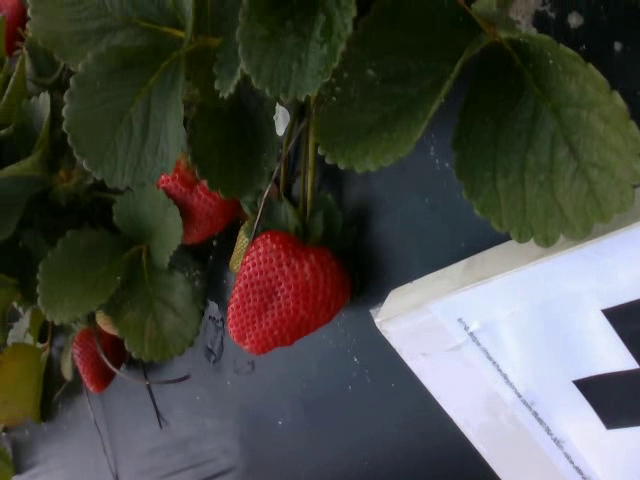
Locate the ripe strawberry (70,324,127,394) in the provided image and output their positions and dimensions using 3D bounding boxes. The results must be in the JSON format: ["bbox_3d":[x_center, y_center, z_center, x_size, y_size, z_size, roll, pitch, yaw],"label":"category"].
[{"bbox_3d":[-0.154,0.079,0.426,0.041,0.052,0.044,1,-33,-27],"label":"ripe strawberry"}]

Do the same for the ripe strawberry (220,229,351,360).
[{"bbox_3d":[-0.020,0.028,0.288,0.056,0.065,0.057,21,-30,15],"label":"ripe strawberry"}]
